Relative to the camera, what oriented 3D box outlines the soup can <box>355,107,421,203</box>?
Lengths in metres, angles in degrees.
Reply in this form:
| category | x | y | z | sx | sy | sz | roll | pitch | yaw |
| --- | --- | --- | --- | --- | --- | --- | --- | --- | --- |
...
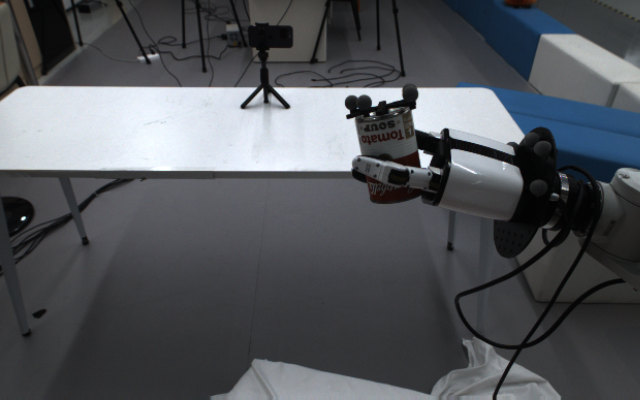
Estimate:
| category | x | y | z | sx | sy | sz | roll | pitch | yaw |
| --- | --- | --- | --- | --- | --- | --- | --- | --- | --- |
| soup can | 0.084 | -0.055 | 0.574 | 0.067 | 0.101 | 0.067 | -12 | 17 | 4 |
